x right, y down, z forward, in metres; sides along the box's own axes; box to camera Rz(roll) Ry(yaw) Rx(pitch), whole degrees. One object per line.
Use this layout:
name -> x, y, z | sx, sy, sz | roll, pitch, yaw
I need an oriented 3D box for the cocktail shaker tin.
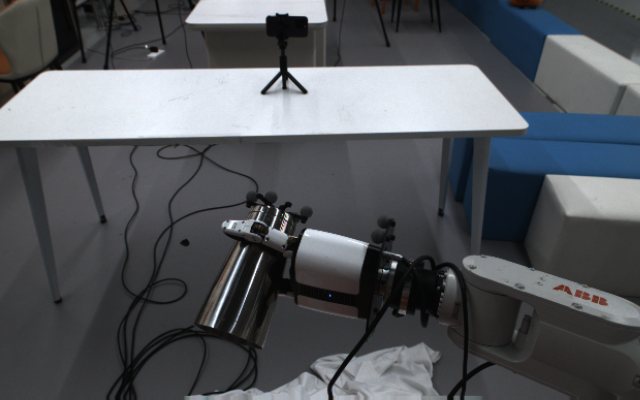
cocktail shaker tin -> -0.086, 0.093, 0.630 | 0.093, 0.093, 0.170 | 12, 65, 15
